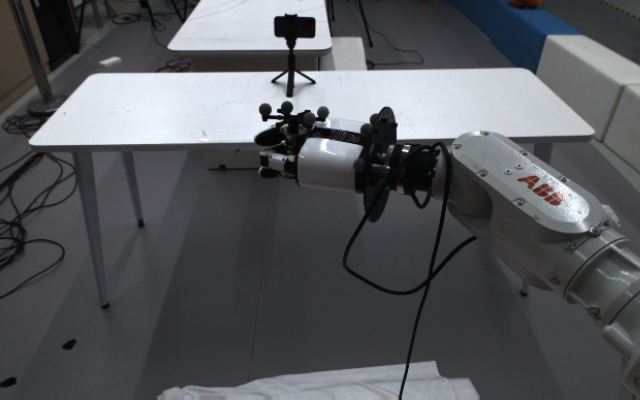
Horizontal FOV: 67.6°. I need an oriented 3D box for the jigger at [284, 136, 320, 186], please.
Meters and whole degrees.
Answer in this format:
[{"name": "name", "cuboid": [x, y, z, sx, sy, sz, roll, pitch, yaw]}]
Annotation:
[{"name": "jigger", "cuboid": [-0.035, -0.070, 0.706, 0.043, 0.071, 0.043, 3, 25, -1]}]
